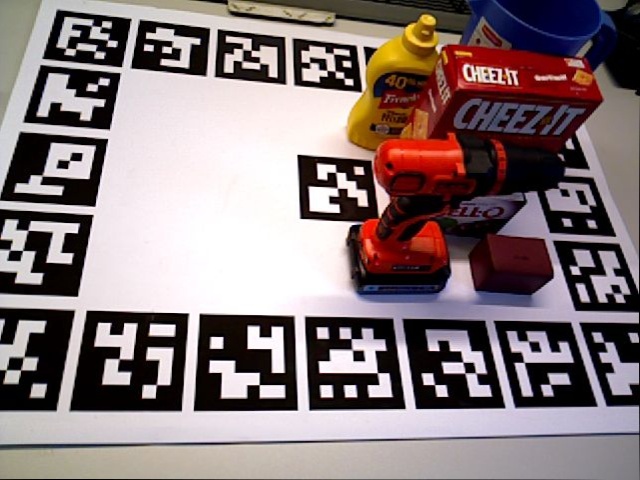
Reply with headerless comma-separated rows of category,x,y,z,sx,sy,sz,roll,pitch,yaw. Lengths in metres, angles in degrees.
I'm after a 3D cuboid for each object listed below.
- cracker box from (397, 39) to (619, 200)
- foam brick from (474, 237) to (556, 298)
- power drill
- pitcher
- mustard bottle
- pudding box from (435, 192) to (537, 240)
cracker box,0.194,-0.111,0.616,0.163,0.218,0.071,1,58,-9
foam brick,0.231,0.034,0.644,0.077,0.052,0.052,5,61,-9
power drill,0.135,-0.028,0.538,0.183,0.191,0.056,3,56,-12
pitcher,0.236,-0.198,0.669,0.187,0.248,0.131,8,58,-6
mustard bottle,0.104,-0.200,0.656,0.096,0.196,0.057,15,59,-4
pudding box,0.178,-0.041,0.637,0.113,0.092,0.038,3,58,-7
